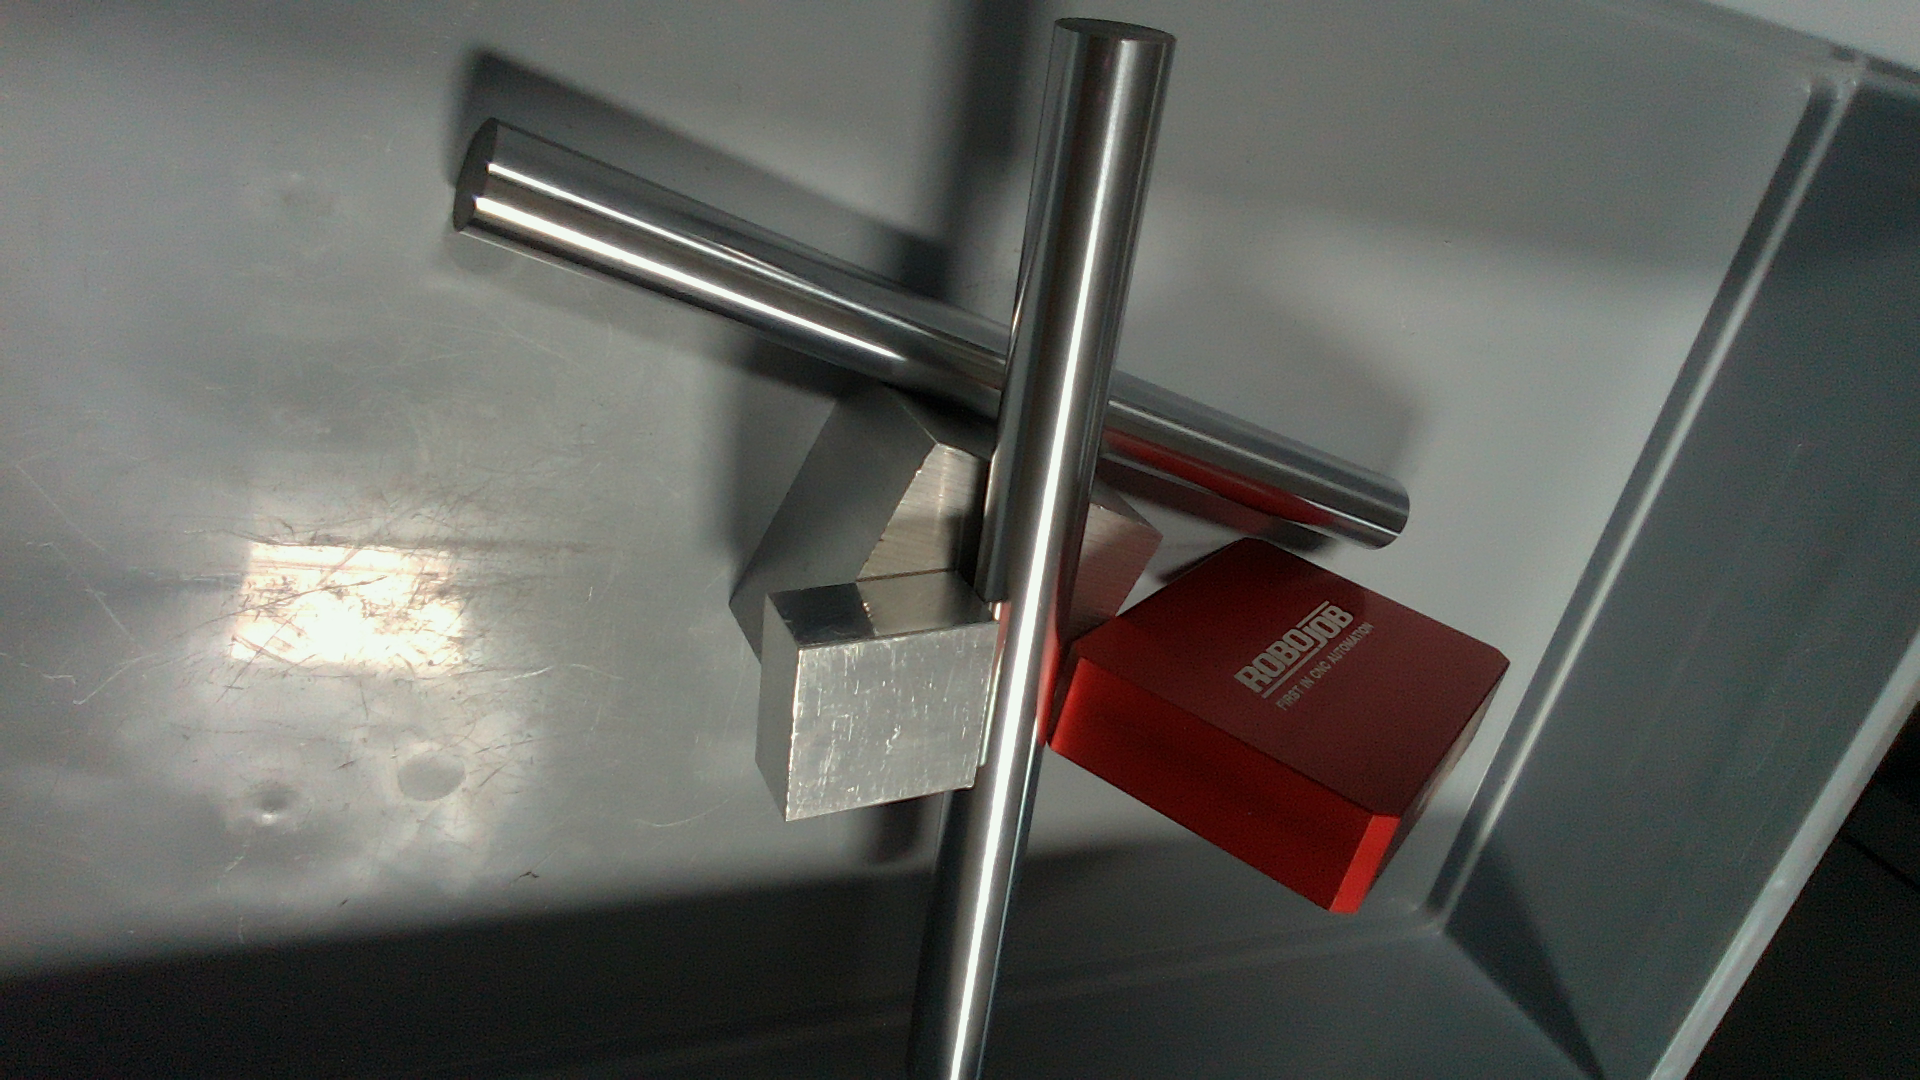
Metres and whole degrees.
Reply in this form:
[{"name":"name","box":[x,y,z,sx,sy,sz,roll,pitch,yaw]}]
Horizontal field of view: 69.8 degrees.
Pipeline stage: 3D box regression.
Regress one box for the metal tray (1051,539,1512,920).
[{"name":"metal tray","box":[0.095,0.046,0.391,0.130,0.090,0.030,-24,136,-54]}]

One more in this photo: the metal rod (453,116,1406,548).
[{"name":"metal rod","box":[0.018,-0.043,0.372,0.301,0.025,0.025,16,110,-34]}]

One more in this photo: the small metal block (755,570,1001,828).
[{"name":"small metal block","box":[-0.021,0.038,0.335,0.050,0.025,0.050,-7,121,-25]}]

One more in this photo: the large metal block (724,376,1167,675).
[{"name":"large metal block","box":[-0.005,0.009,0.375,0.080,0.050,0.080,19,108,-35]}]

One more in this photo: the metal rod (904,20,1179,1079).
[{"name":"metal rod","box":[0.014,0.028,0.348,0.025,0.025,0.300,-6,121,-25]}]
